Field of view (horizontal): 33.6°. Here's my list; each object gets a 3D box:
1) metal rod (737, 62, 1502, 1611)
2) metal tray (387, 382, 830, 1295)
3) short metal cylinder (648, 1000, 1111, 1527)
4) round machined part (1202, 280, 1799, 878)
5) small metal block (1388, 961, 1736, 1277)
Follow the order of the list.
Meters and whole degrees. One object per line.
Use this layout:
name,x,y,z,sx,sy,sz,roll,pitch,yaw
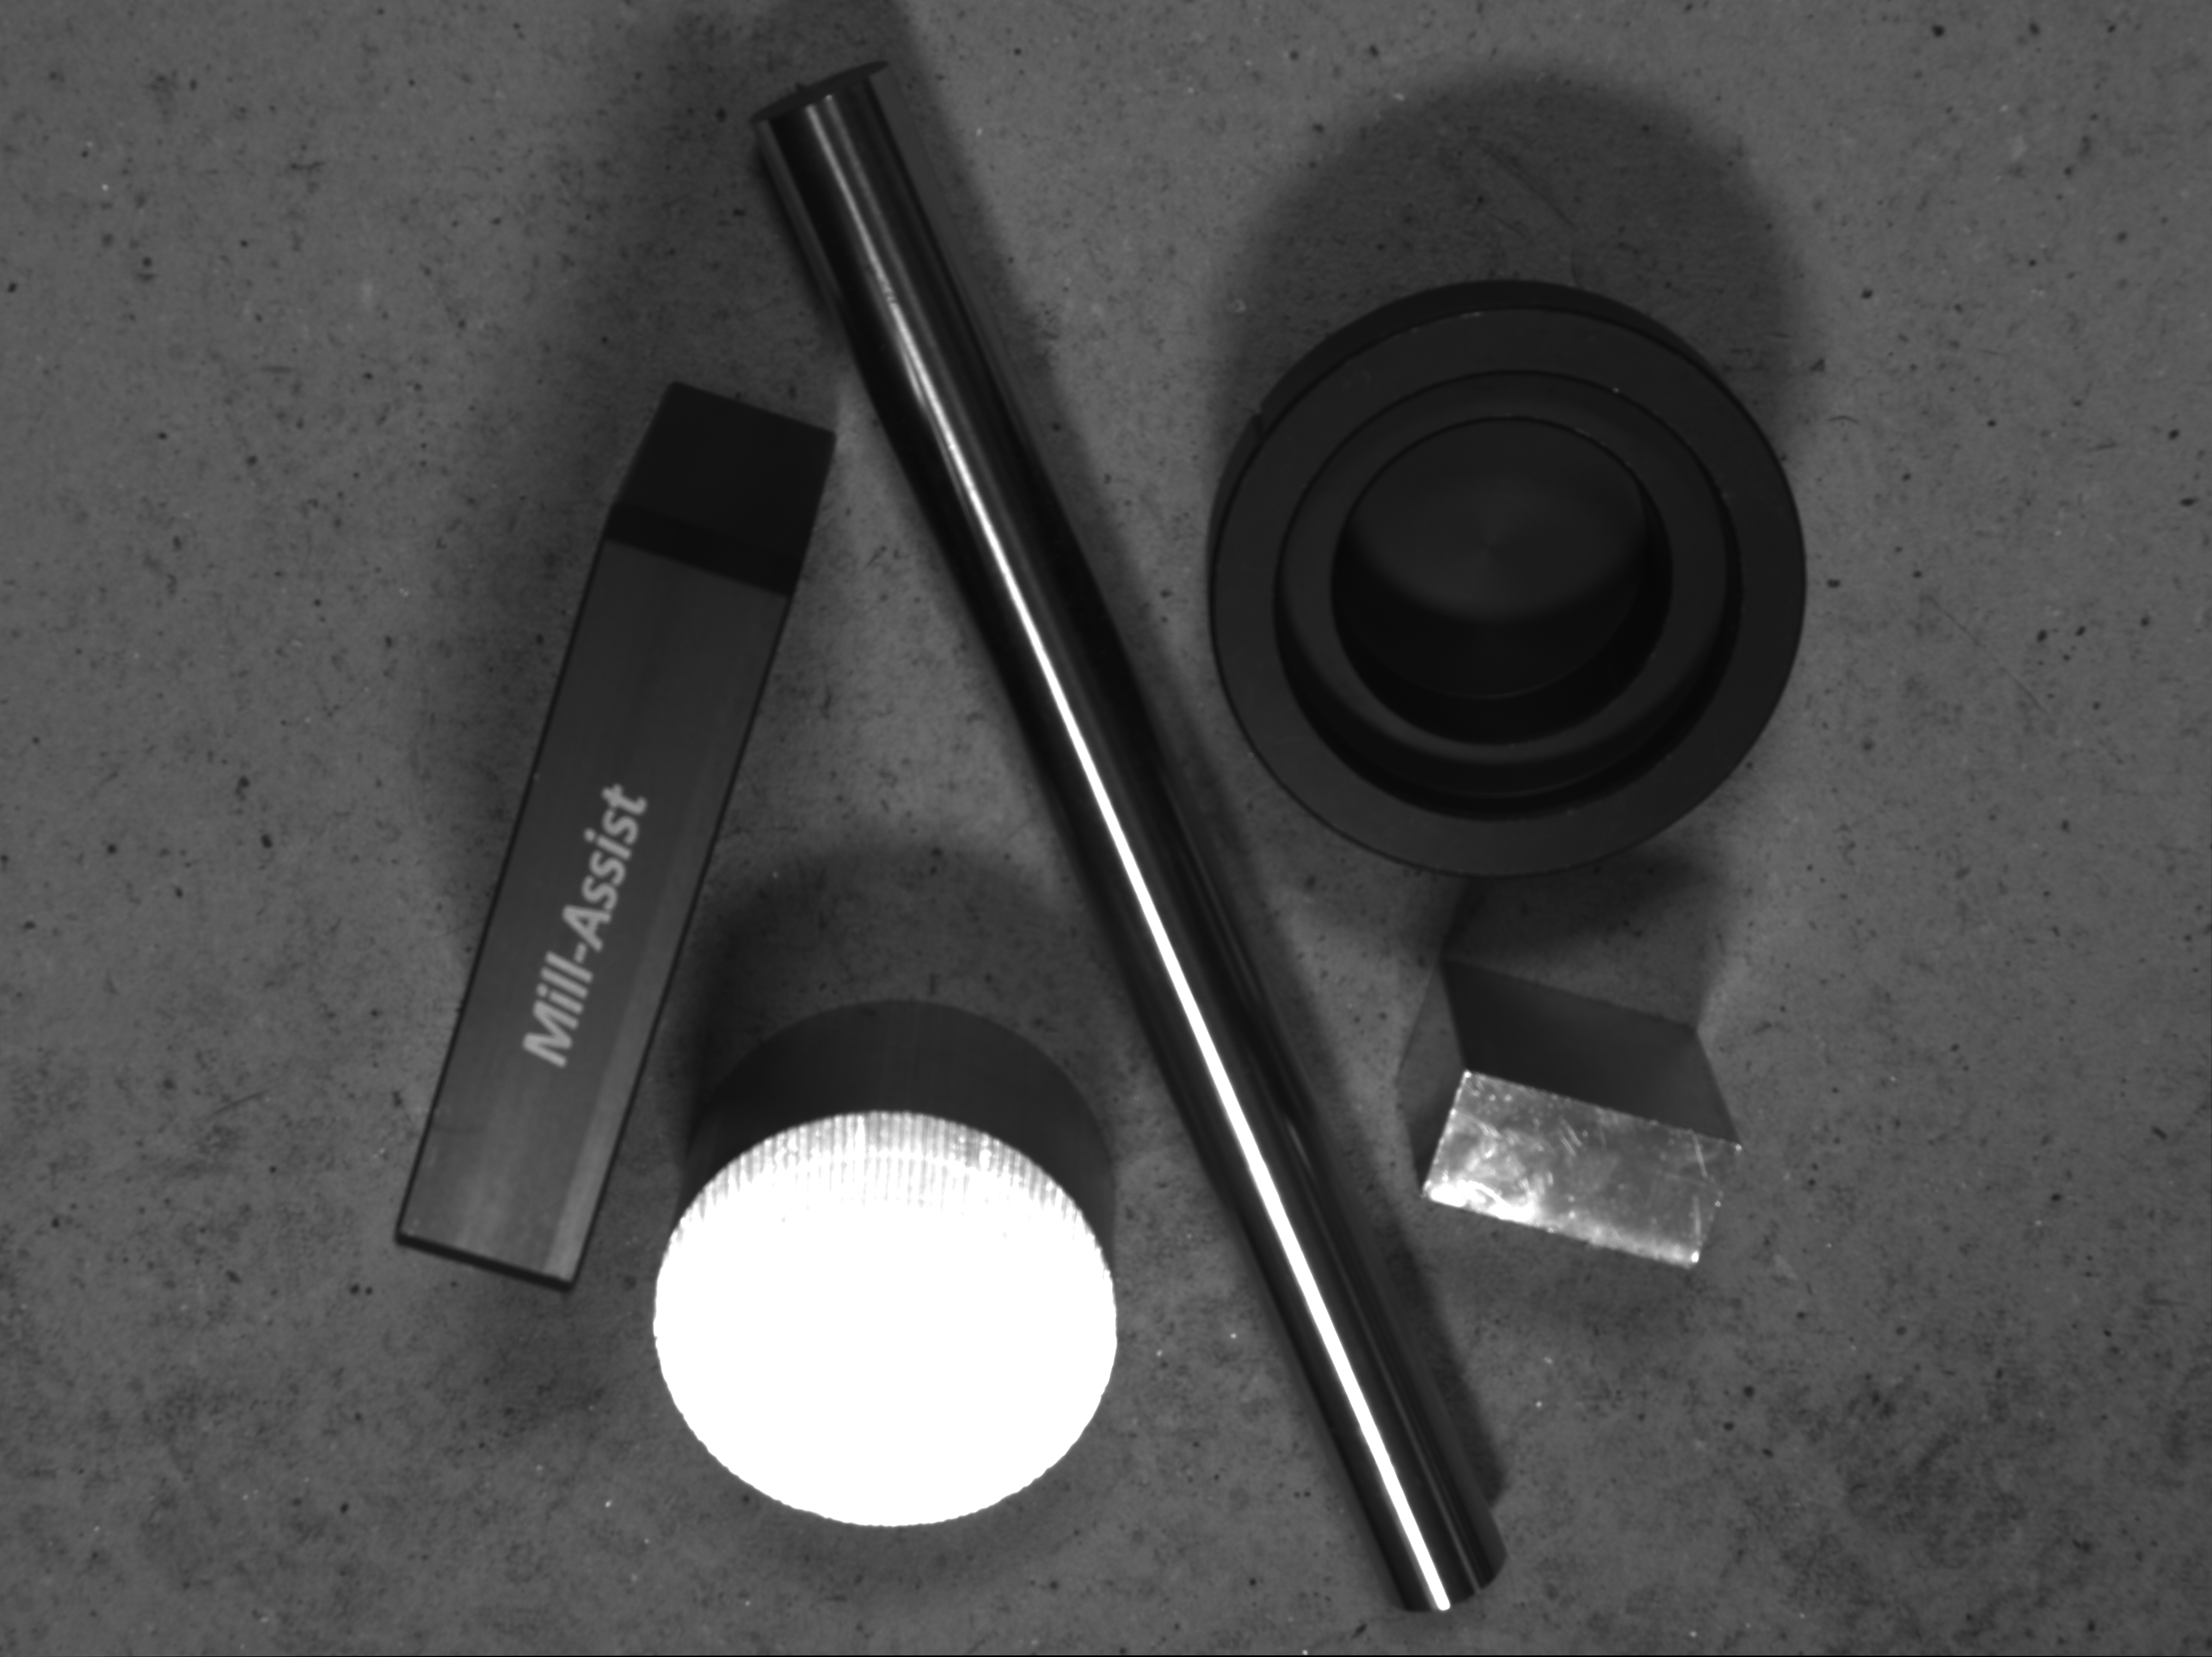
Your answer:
metal rod,0.007,0.010,0.648,0.025,0.025,0.300,-21,109,7
metal tray,-0.081,0.000,0.608,0.030,0.090,0.130,17,109,-7
short metal cylinder,-0.039,0.077,0.657,0.080,0.050,0.080,0,110,-1
round machined part,0.065,-0.045,0.619,0.098,0.042,0.098,0,110,-1
small metal block,0.079,0.051,0.646,0.050,0.050,0.025,16,109,-6
